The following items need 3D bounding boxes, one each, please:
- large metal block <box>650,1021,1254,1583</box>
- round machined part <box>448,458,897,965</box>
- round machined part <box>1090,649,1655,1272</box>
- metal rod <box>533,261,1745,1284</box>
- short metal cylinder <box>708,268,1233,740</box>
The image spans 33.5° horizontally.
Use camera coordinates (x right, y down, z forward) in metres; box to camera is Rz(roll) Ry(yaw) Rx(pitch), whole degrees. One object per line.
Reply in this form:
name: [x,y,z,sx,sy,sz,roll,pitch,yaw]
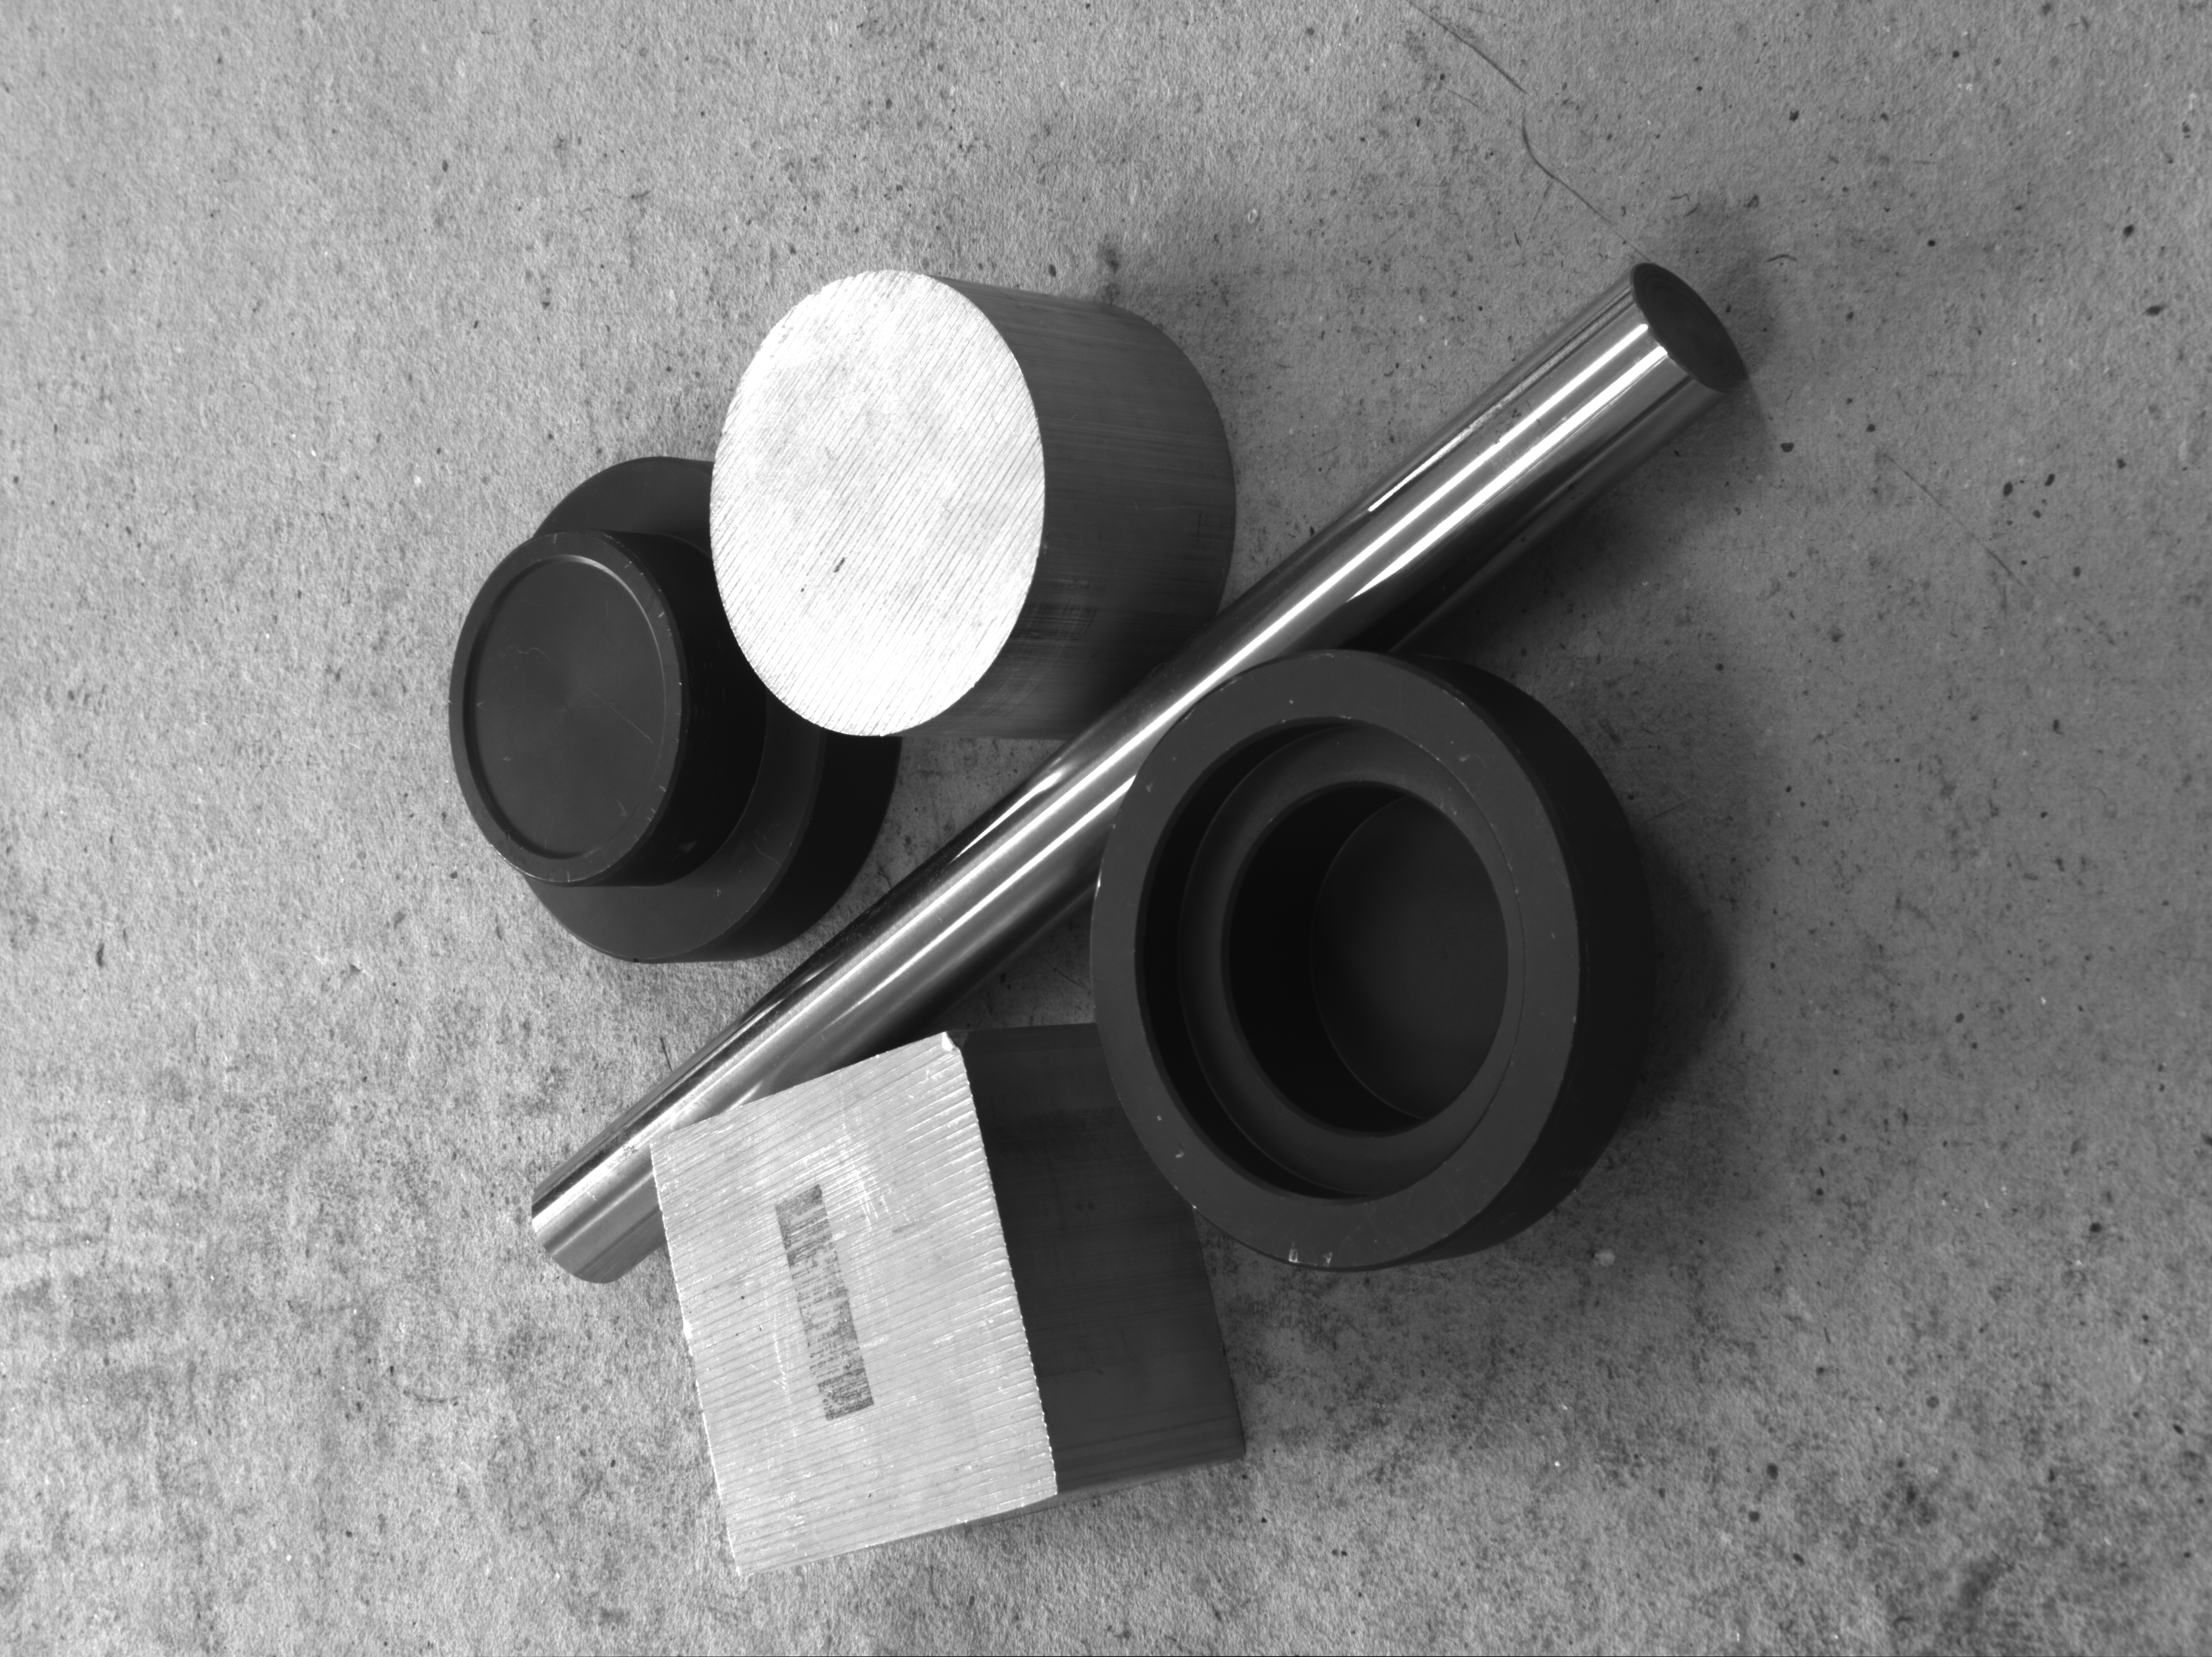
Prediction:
large metal block: [-0.028,0.084,0.654,0.080,0.050,0.080,-22,76,38]
round machined part: [-0.089,-0.023,0.710,0.098,0.042,0.098,0,90,40]
round machined part: [0.047,0.021,0.594,0.098,0.042,0.098,0,90,40]
metal rod: [-0.007,0.001,0.653,0.299,0.025,0.025,-39,66,33]
short metal cylinder: [-0.024,-0.056,0.649,0.080,0.050,0.080,0,90,40]
